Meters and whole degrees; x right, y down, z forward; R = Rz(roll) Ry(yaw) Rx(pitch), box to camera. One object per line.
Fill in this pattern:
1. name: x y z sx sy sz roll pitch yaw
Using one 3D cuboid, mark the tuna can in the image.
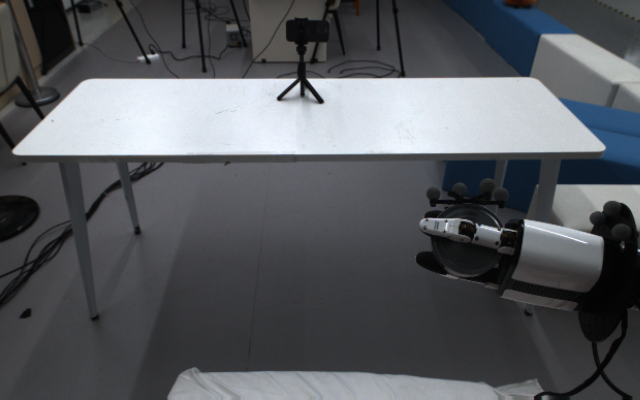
1. tuna can: 0.178 0.047 0.582 0.085 0.034 0.085 -3 73 11
